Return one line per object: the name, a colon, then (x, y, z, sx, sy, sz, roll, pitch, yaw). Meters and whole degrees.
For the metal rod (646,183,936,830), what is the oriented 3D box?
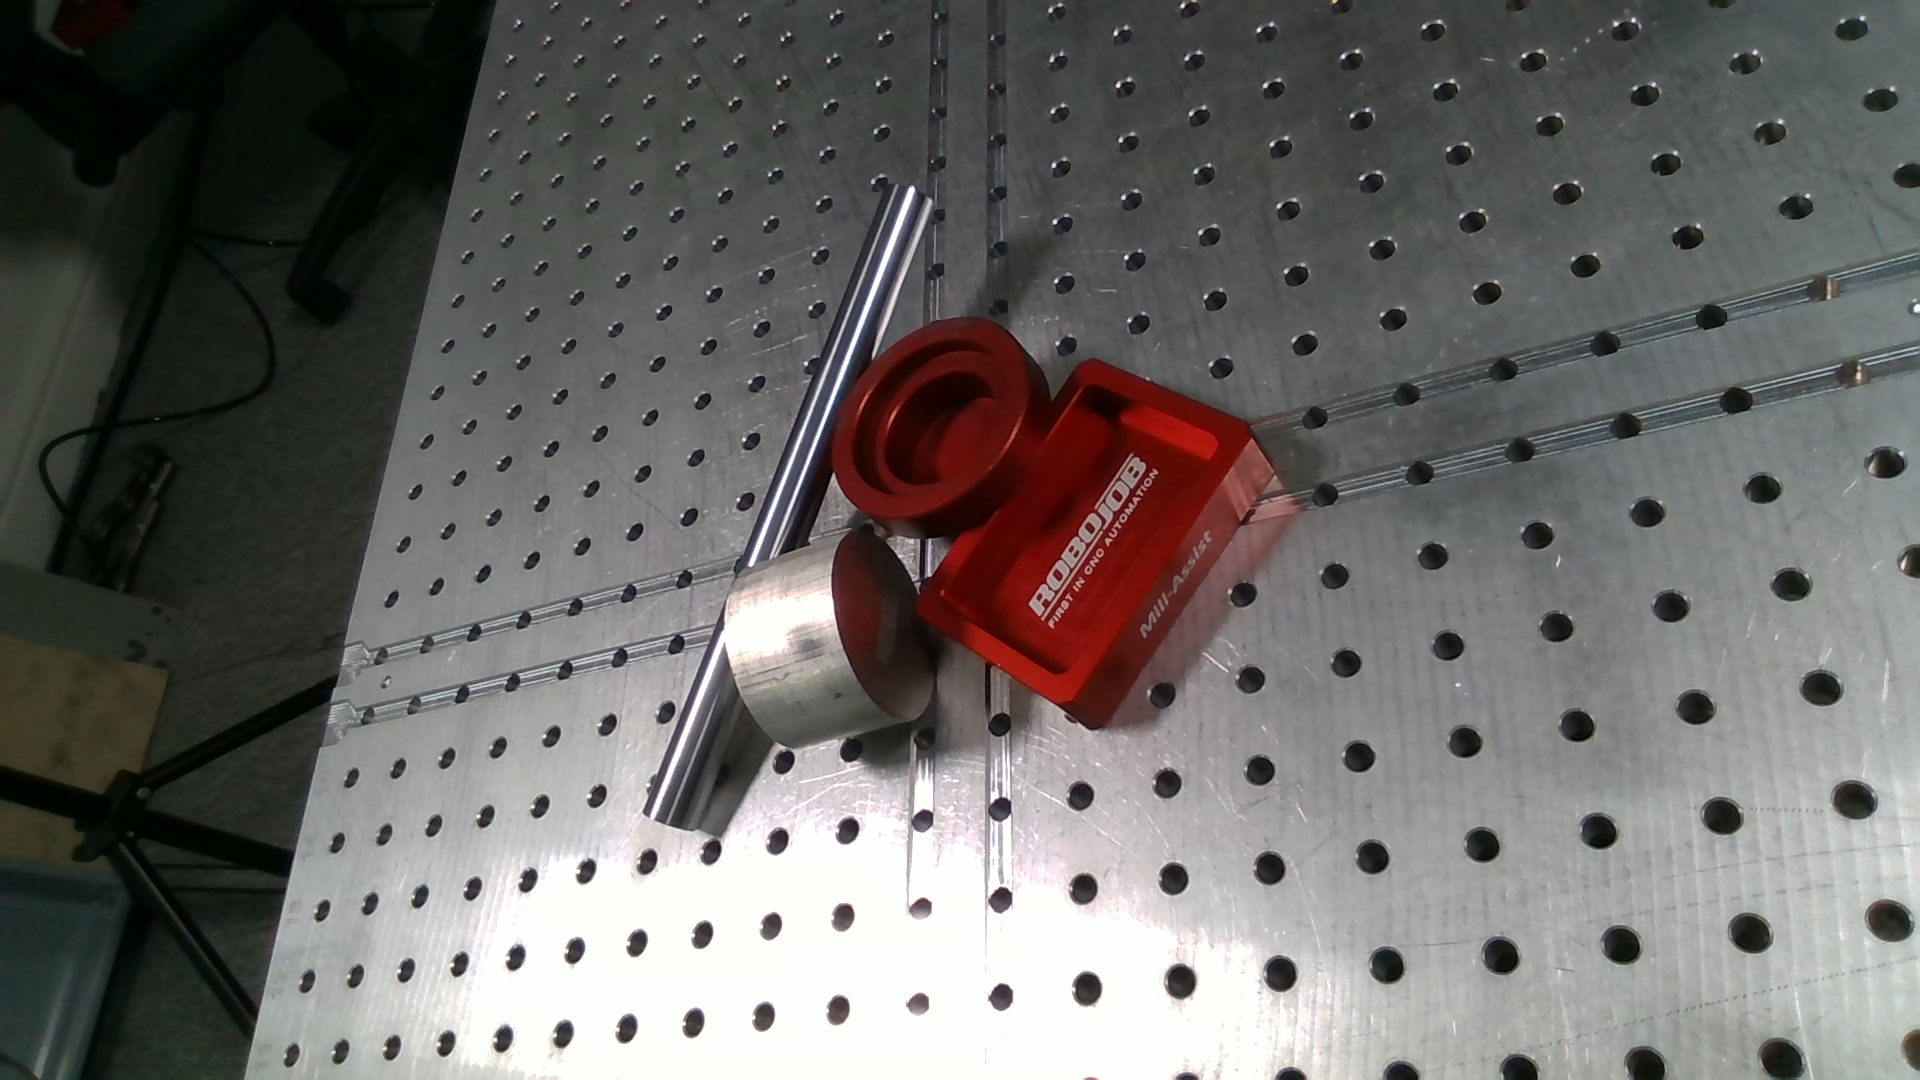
metal rod: (-0.074, -0.017, 0.617, 0.025, 0.025, 0.300, 16, 84, 37)

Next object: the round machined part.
round machined part: (-0.004, -0.044, 0.593, 0.098, 0.042, 0.098, -15, 56, 24)

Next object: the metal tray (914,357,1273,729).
metal tray: (0.052, -0.001, 0.553, 0.090, 0.030, 0.130, 30, 83, 38)

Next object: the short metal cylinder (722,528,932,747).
short metal cylinder: (-0.053, 0.040, 0.562, 0.050, 0.080, 0.080, -18, 57, 23)

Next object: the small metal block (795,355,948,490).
small metal block: (-0.041, -0.055, 0.644, 0.050, 0.025, 0.050, 16, 74, 36)
